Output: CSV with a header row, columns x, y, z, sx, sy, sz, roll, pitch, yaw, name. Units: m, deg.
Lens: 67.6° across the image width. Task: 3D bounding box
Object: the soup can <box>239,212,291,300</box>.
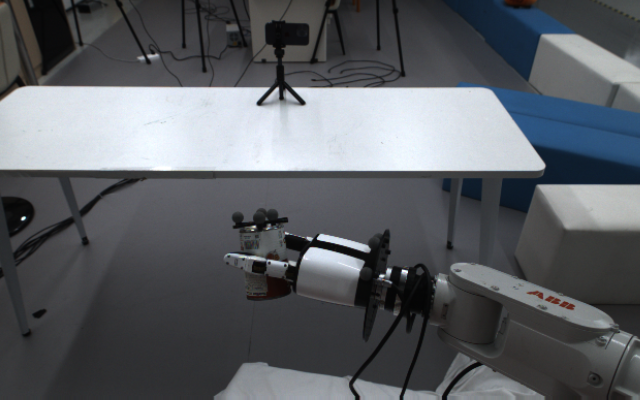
x,y,z,sx,sy,sz,roll,pitch,yaw,name
-0.078,0.090,0.706,0.067,0.101,0.067,-7,3,0,soup can
